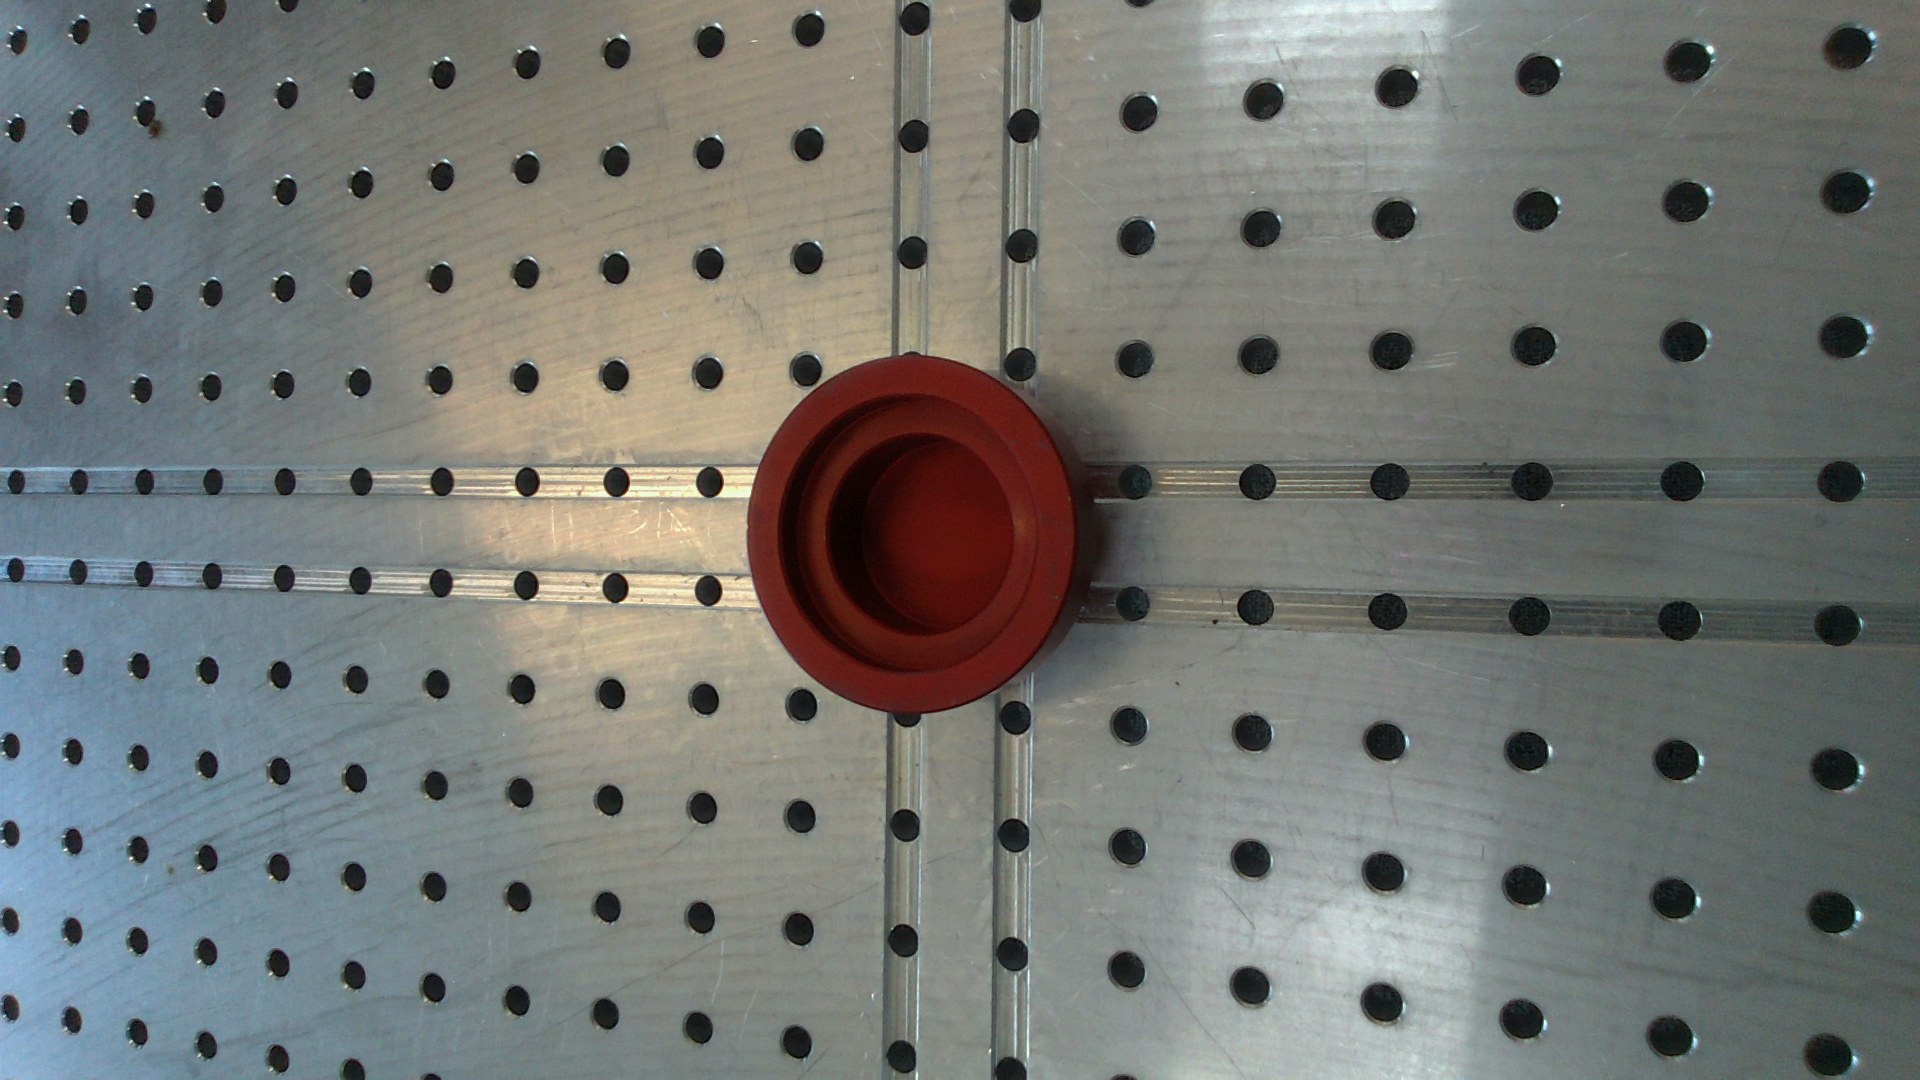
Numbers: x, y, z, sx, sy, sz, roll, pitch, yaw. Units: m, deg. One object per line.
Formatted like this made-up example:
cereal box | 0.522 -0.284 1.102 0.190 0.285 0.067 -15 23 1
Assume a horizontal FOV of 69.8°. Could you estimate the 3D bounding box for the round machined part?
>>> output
round machined part | -0.008 -0.002 0.392 0.098 0.042 0.098 0 90 20
